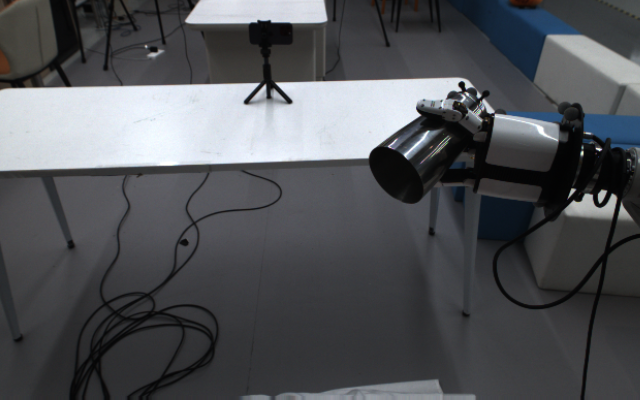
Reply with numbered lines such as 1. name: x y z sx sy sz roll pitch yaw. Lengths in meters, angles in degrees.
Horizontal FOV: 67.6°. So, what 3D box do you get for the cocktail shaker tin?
1. cocktail shaker tin: 0.159 -0.087 0.676 0.170 0.093 0.093 -38 50 -24
